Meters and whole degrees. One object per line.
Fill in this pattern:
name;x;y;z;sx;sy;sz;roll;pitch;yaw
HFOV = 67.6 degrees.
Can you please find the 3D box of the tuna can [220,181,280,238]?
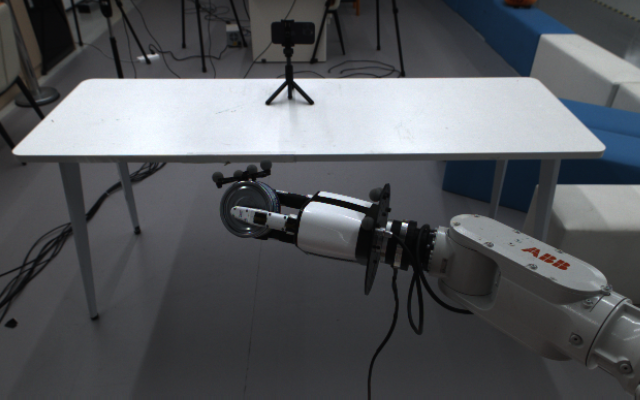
tuna can;-0.101;0.020;0.713;0.085;0.085;0.034;12;3;14
